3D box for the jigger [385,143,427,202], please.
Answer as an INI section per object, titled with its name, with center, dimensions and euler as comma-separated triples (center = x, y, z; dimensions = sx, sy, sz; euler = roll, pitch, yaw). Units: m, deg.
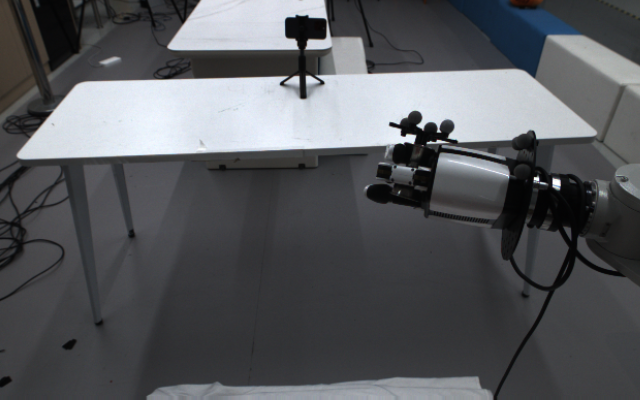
[jigger]
center = 0.118, -0.036, 0.616
dimensions = 0.043, 0.071, 0.043
euler = 17, 2, -1
